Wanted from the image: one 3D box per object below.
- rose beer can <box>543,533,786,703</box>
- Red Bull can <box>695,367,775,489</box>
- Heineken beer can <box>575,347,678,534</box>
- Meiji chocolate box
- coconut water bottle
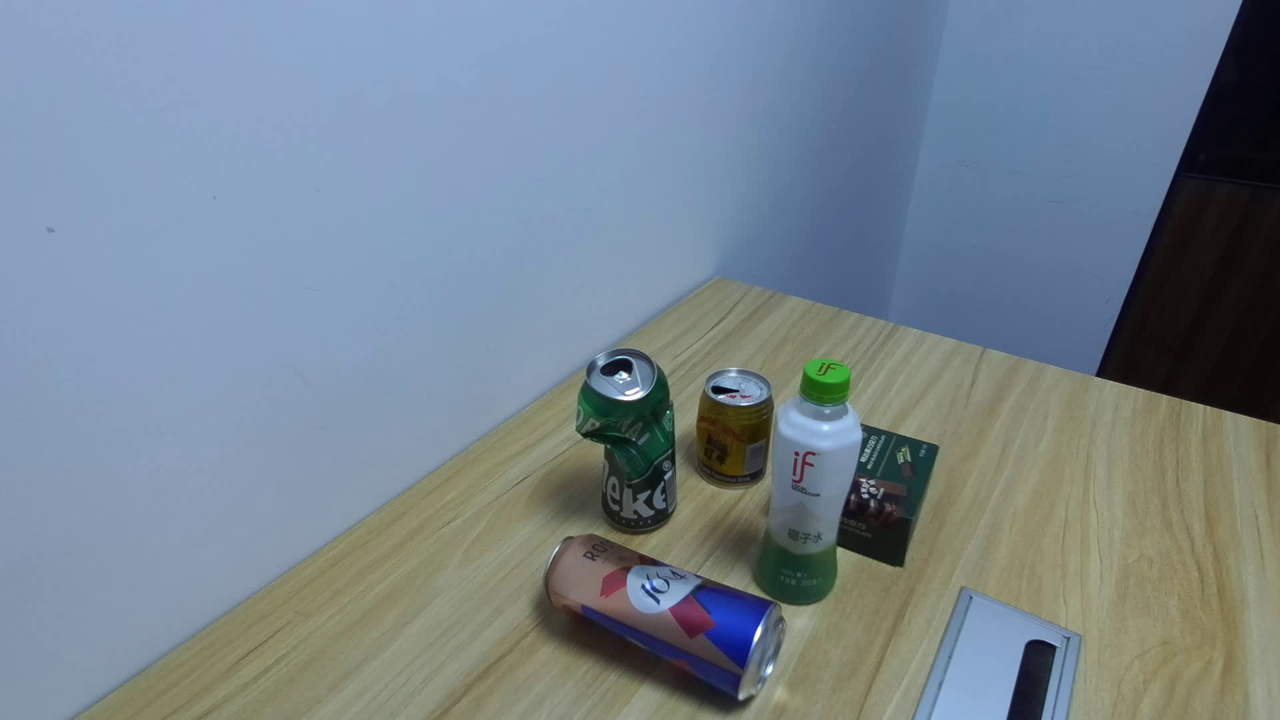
[{"bbox_3d":[0.014,0.170,0.489,0.167,0.069,0.070,15,54,26],"label":"rose beer can"},{"bbox_3d":[0.086,0.061,0.636,0.069,0.092,0.069,0,32,0],"label":"Red Bull can"},{"bbox_3d":[-0.005,0.066,0.575,0.067,0.159,0.078,1,38,10],"label":"Heineken beer can"},{"bbox_3d":[0.186,0.106,0.606,0.109,0.056,0.110,17,34,24],"label":"Meiji chocolate box"},{"bbox_3d":[0.121,0.088,0.503,0.063,0.189,0.063,0,30,0],"label":"coconut water bottle"}]
